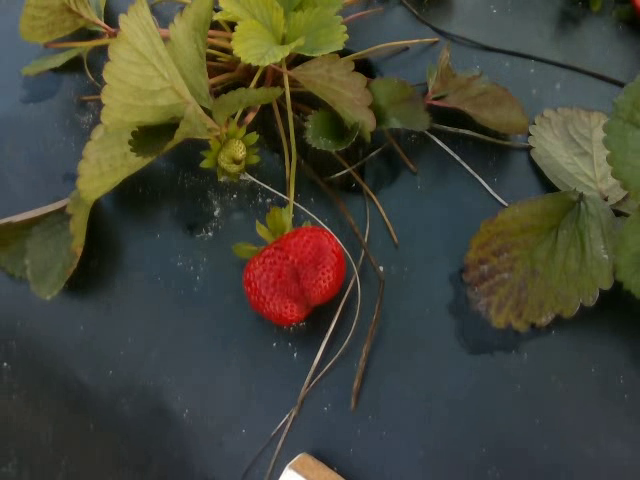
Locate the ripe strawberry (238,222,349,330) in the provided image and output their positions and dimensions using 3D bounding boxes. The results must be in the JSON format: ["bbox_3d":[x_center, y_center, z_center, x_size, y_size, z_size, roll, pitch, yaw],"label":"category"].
[{"bbox_3d":[-0.004,0.006,0.074,0.013,0.017,0.015,40,18,-31],"label":"ripe strawberry"}]
